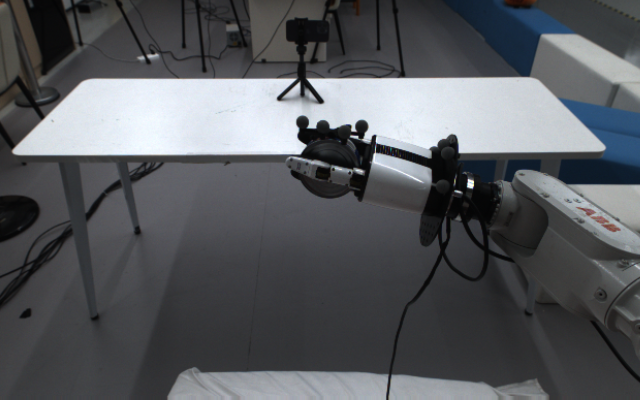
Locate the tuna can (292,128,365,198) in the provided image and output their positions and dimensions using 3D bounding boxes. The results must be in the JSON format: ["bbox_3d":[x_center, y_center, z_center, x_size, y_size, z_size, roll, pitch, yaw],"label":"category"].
[{"bbox_3d":[0.014,-0.048,0.671,0.085,0.085,0.034,6,22,6],"label":"tuna can"}]
